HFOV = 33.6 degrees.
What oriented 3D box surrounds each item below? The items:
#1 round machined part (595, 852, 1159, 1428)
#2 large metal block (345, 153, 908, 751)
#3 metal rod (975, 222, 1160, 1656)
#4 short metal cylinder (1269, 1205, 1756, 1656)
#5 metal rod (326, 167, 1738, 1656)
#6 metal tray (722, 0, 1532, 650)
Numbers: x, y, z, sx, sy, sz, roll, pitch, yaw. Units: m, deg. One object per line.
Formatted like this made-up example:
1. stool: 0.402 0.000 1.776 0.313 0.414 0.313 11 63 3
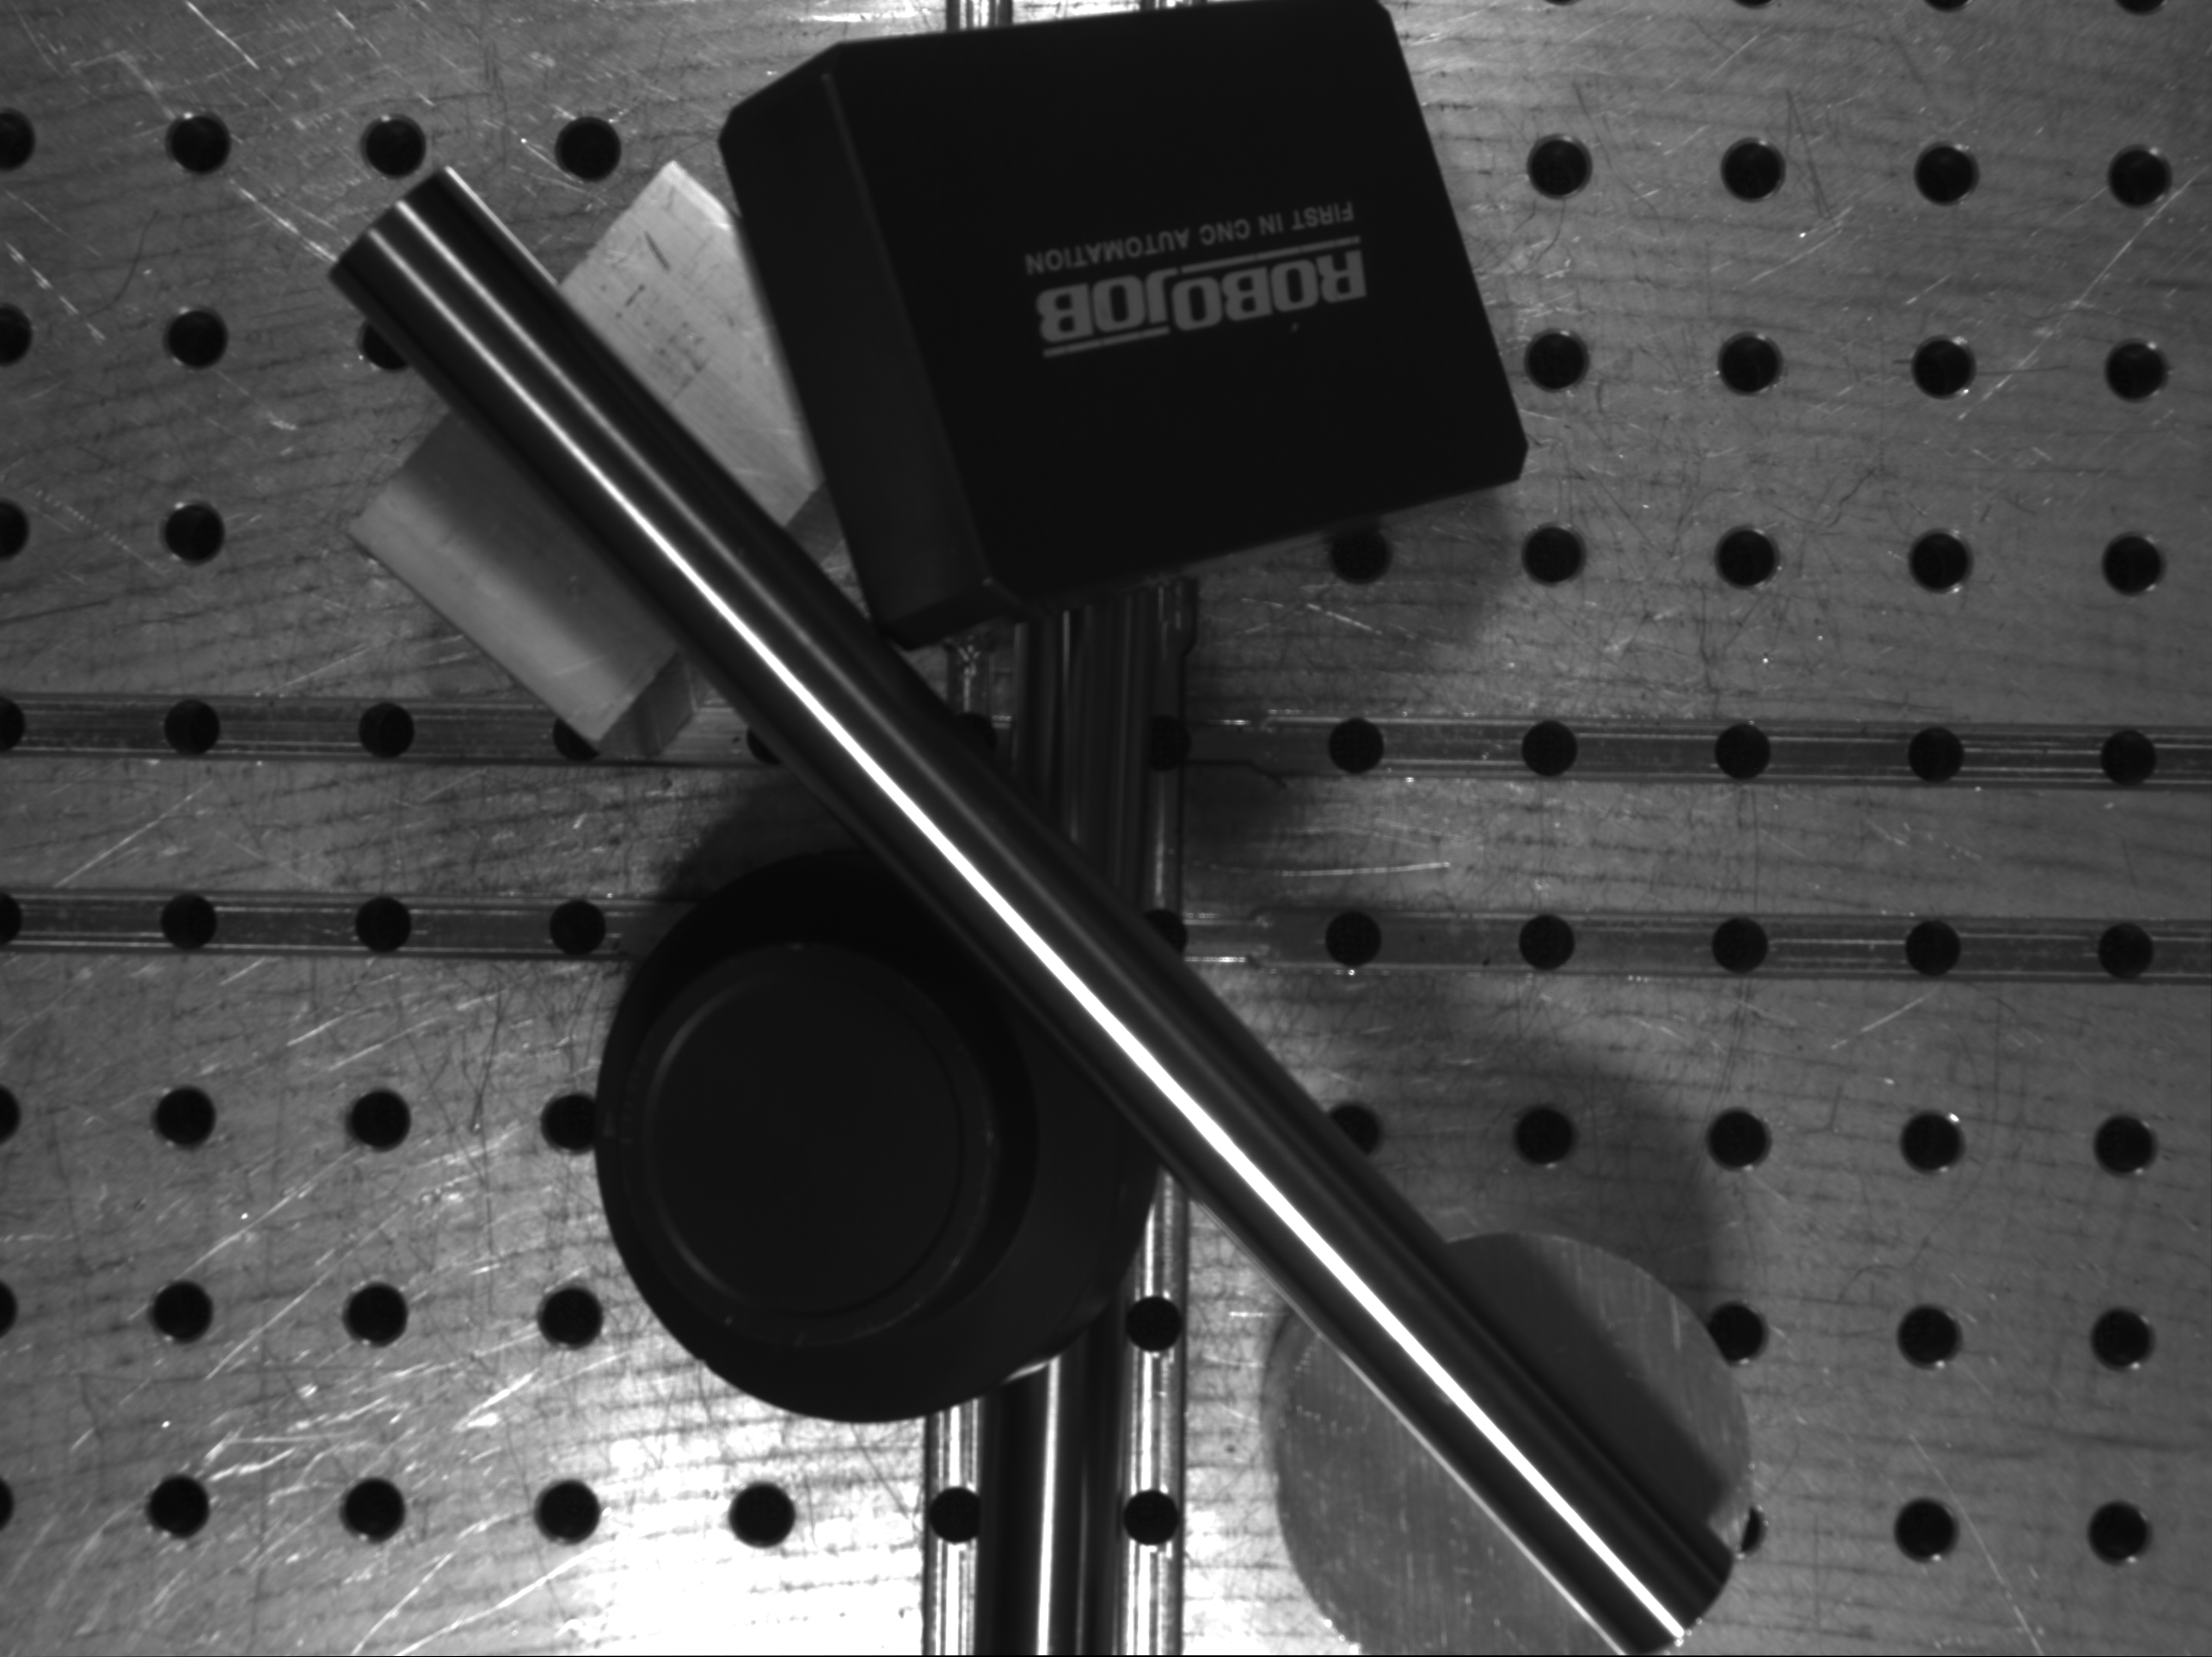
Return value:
1. round machined part: -0.043 0.053 0.623 0.098 0.042 0.098 0 89 17
2. large metal block: -0.076 -0.060 0.620 0.050 0.080 0.080 41 90 0
3. metal rod: -0.006 0.024 0.647 0.025 0.025 0.300 2 90 0
4. short metal cylinder: 0.068 0.107 0.636 0.080 0.050 0.080 0 90 0
5. metal rod: -0.008 0.017 0.577 0.025 0.025 0.300 -43 98 0
6. metal tray: 0.007 -0.087 0.606 0.130 0.030 0.090 -17 89 -42
